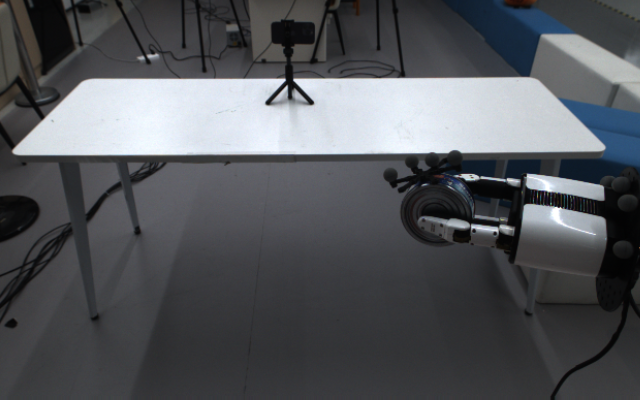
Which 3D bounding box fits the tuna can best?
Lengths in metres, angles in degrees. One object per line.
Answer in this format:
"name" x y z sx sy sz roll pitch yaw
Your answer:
"tuna can" 0.144 0.010 0.584 0.085 0.085 0.034 15 30 17
